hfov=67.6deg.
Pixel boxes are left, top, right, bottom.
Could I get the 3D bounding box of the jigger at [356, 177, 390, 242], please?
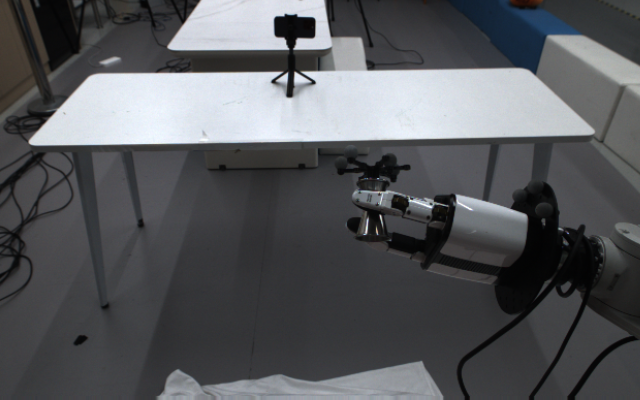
[{"bbox_3d":[0.061,0.011,0.570,0.043,0.043,0.071,3,76,1],"label":"jigger"}]
